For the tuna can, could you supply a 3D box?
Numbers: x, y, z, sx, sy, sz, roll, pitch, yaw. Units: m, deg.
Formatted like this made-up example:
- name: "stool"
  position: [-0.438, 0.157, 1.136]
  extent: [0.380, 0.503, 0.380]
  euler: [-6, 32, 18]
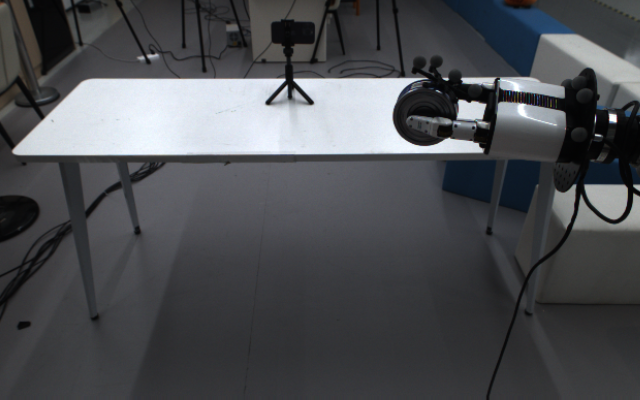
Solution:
- name: "tuna can"
  position: [0.147, -0.112, 0.658]
  extent: [0.085, 0.085, 0.034]
  euler: [12, 36, 14]
